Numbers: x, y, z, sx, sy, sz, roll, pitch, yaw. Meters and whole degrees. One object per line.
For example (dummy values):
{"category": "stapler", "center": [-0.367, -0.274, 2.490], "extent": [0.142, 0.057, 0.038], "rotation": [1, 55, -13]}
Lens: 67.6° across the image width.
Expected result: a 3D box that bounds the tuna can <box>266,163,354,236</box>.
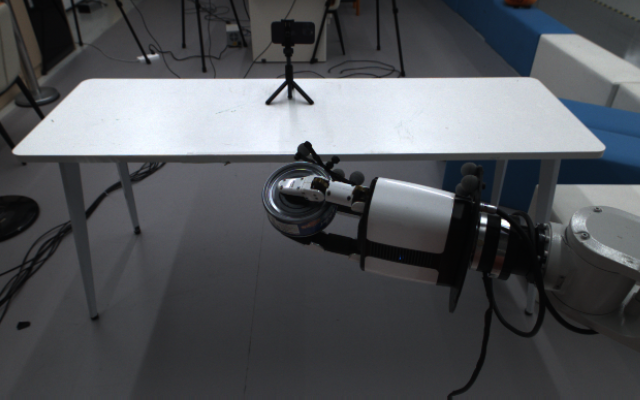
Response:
{"category": "tuna can", "center": [-0.019, 0.004, 0.559], "extent": [0.085, 0.034, 0.085], "rotation": [-4, 57, 6]}
